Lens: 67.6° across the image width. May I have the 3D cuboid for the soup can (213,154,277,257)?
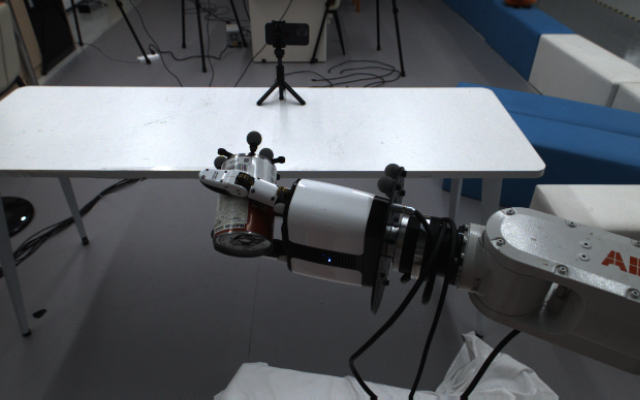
[{"bbox_3d":[-0.082,0.006,0.553,0.067,0.067,0.101,0,61,-3],"label":"soup can"}]
